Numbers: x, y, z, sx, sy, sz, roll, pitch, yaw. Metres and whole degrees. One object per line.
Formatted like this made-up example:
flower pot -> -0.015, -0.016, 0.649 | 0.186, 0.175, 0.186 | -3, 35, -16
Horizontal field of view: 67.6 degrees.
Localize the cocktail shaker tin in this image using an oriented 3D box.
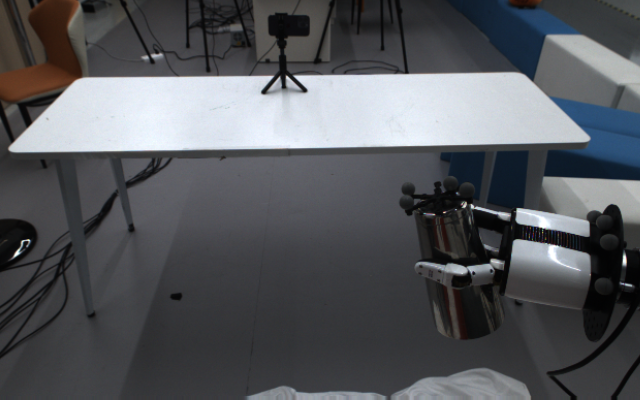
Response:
cocktail shaker tin -> 0.172, 0.079, 0.612 | 0.093, 0.170, 0.093 | -17, 20, 7
